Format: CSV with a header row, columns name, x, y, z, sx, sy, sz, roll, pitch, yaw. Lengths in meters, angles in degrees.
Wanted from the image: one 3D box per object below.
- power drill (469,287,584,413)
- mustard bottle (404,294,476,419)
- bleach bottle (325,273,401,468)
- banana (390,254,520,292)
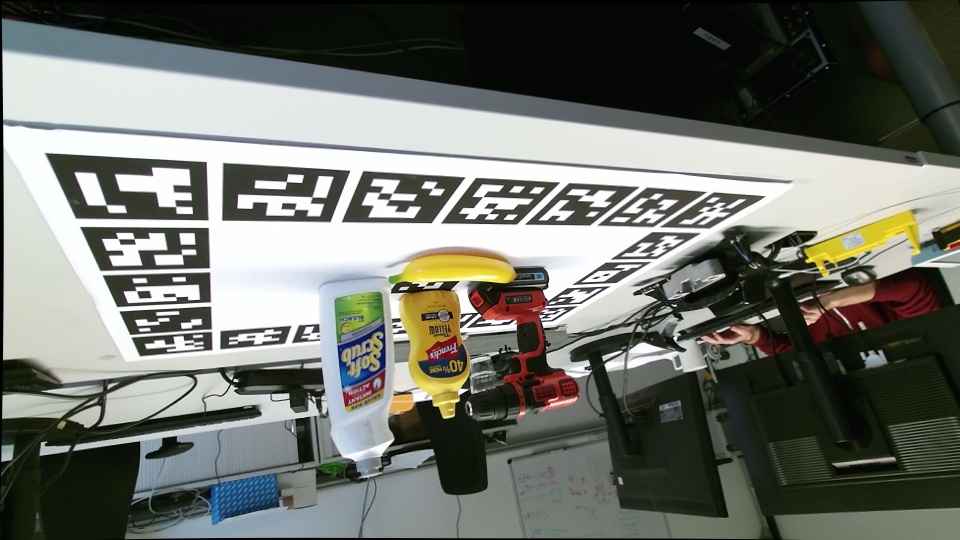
name,x,y,z,sx,sy,sz,roll,pitch,yaw
power drill,0.063,0.122,0.818,0.185,0.186,0.057,-1,162,-22
mustard bottle,-0.057,0.134,0.829,0.096,0.190,0.058,0,155,-26
bleach bottle,-0.146,0.131,0.716,0.103,0.249,0.068,-6,156,-19
banana,-0.020,0.006,0.738,0.198,0.038,0.074,-2,151,-30
